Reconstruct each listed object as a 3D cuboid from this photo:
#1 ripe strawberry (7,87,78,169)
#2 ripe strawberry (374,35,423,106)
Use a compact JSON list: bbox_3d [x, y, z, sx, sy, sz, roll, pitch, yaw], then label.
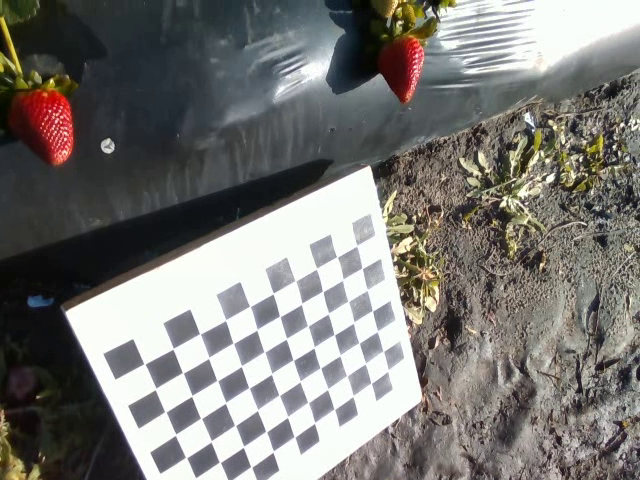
[{"bbox_3d":[-0.169,-0.068,0.387,0.045,0.055,0.041,-21,-9,-35],"label":"ripe strawberry"},{"bbox_3d":[0.064,-0.134,0.498,0.042,0.059,0.042,-4,2,-39],"label":"ripe strawberry"}]
